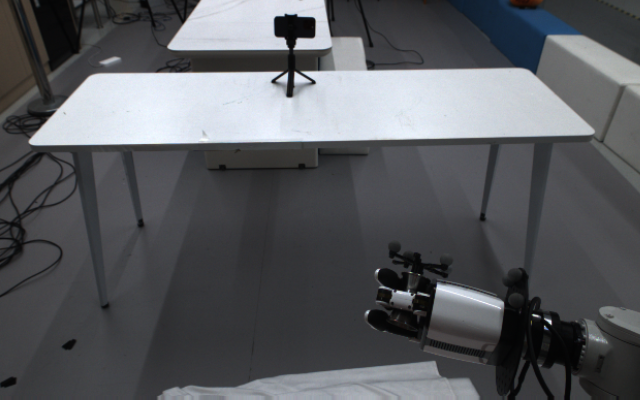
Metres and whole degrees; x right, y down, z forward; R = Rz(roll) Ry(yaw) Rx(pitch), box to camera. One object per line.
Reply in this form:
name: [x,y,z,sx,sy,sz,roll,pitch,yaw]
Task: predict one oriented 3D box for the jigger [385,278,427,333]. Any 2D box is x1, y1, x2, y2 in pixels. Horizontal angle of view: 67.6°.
jigger: [0.121,0.132,0.639,0.043,0.043,0.071,13,69,15]
